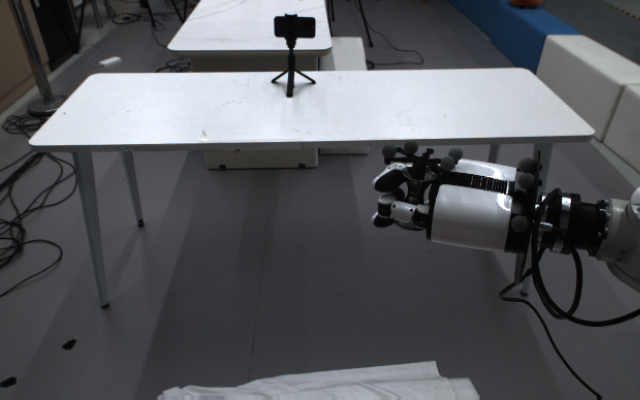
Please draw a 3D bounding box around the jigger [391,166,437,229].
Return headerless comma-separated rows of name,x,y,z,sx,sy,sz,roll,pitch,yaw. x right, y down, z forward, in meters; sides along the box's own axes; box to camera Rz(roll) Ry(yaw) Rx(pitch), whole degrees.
jigger,0.122,-0.002,0.606,0.043,0.071,0.043,3,25,-1
